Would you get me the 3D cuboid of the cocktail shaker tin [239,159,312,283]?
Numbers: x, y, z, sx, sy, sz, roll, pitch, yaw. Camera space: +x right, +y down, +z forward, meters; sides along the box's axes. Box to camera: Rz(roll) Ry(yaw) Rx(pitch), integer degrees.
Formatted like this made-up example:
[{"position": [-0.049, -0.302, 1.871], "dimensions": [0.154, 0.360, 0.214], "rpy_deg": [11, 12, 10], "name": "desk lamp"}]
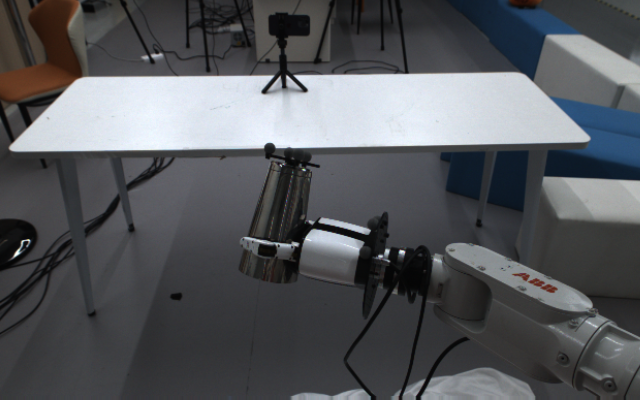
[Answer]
[{"position": [-0.062, 0.030, 0.737], "dimensions": [0.093, 0.170, 0.093], "rpy_deg": [12, 5, -1], "name": "cocktail shaker tin"}]
